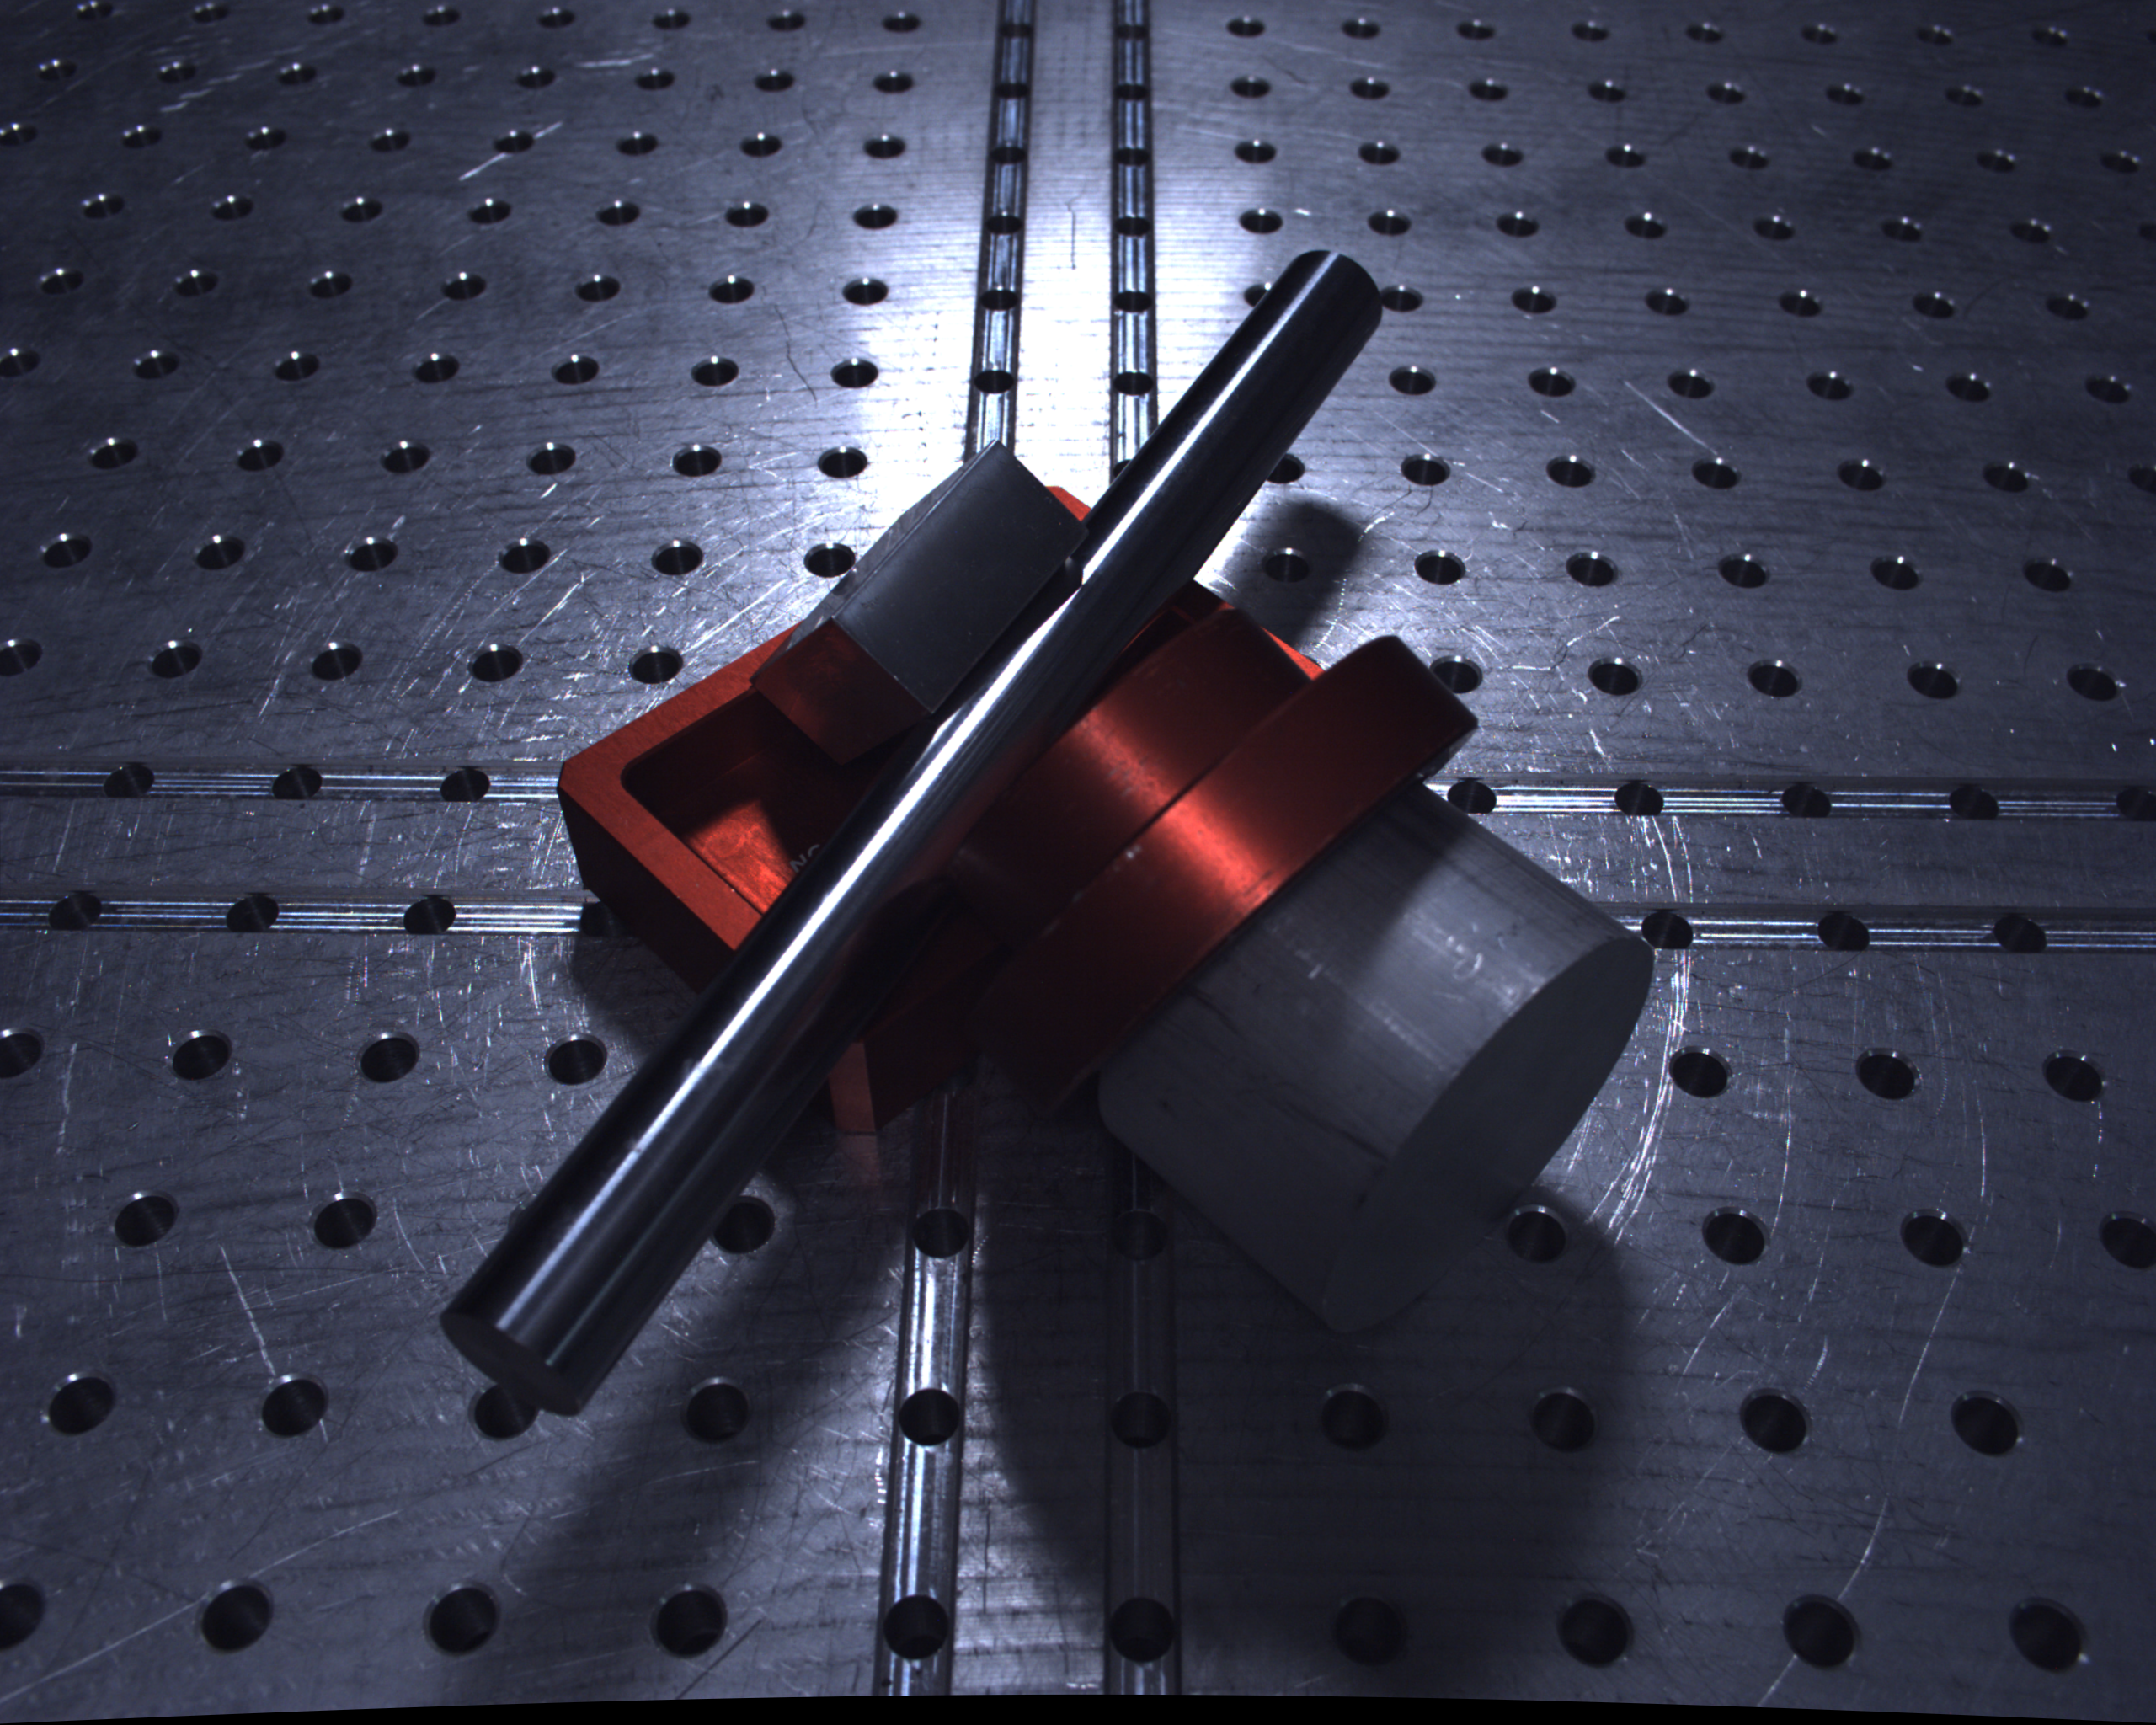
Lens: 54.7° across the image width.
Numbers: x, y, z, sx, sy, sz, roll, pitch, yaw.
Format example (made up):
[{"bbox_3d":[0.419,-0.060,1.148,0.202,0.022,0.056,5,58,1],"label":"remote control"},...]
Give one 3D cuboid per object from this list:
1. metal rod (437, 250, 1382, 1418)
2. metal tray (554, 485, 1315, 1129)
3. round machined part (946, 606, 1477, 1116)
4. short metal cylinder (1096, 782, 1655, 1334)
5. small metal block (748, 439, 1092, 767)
[{"bbox_3d":[-0.013,-0.028,0.391,0.025,0.025,0.301,22,53,17],"label":"metal rod"},{"bbox_3d":[-0.024,-0.017,0.417,0.131,0.030,0.090,-36,59,-27],"label":"metal tray"},{"bbox_3d":[0.017,-0.005,0.351,0.099,0.098,0.042,-39,82,-28],"label":"round machined part"},{"bbox_3d":[0.049,0.030,0.345,0.080,0.080,0.050,-36,59,-27],"label":"short metal cylinder"},{"bbox_3d":[-0.031,-0.049,0.404,0.025,0.050,0.050,44,66,-13],"label":"small metal block"}]
